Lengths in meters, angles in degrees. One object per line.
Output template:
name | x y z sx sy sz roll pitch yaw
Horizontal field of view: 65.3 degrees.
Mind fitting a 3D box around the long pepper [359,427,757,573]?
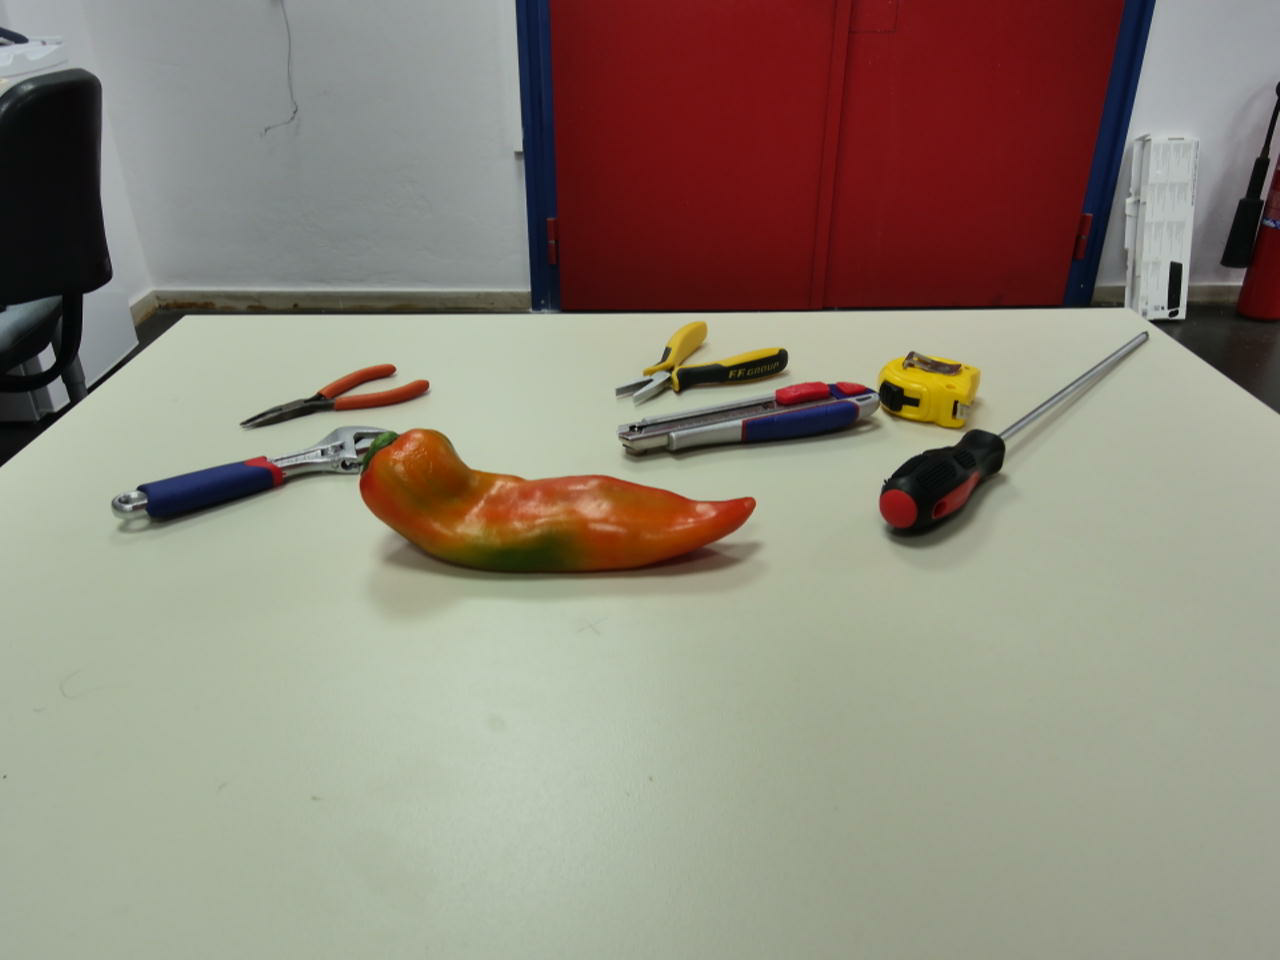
long pepper | -0.041 0.007 0.506 0.199 0.065 0.066 2 26 5
